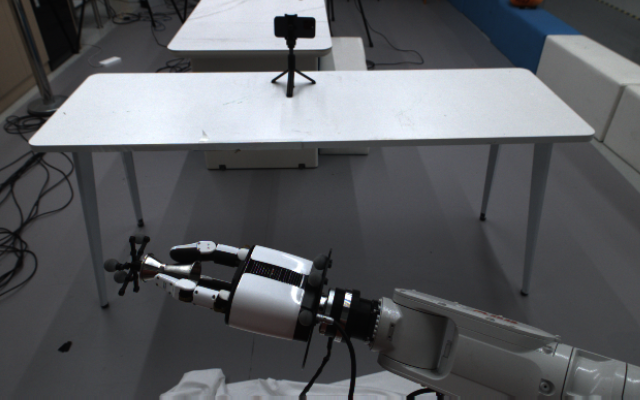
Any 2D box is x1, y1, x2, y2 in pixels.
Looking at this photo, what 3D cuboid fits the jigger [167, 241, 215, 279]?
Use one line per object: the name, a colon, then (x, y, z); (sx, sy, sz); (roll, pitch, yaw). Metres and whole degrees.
jigger: (-0.190, 0.091, 0.646); (0.071, 0.043, 0.043); (8, 35, 5)
